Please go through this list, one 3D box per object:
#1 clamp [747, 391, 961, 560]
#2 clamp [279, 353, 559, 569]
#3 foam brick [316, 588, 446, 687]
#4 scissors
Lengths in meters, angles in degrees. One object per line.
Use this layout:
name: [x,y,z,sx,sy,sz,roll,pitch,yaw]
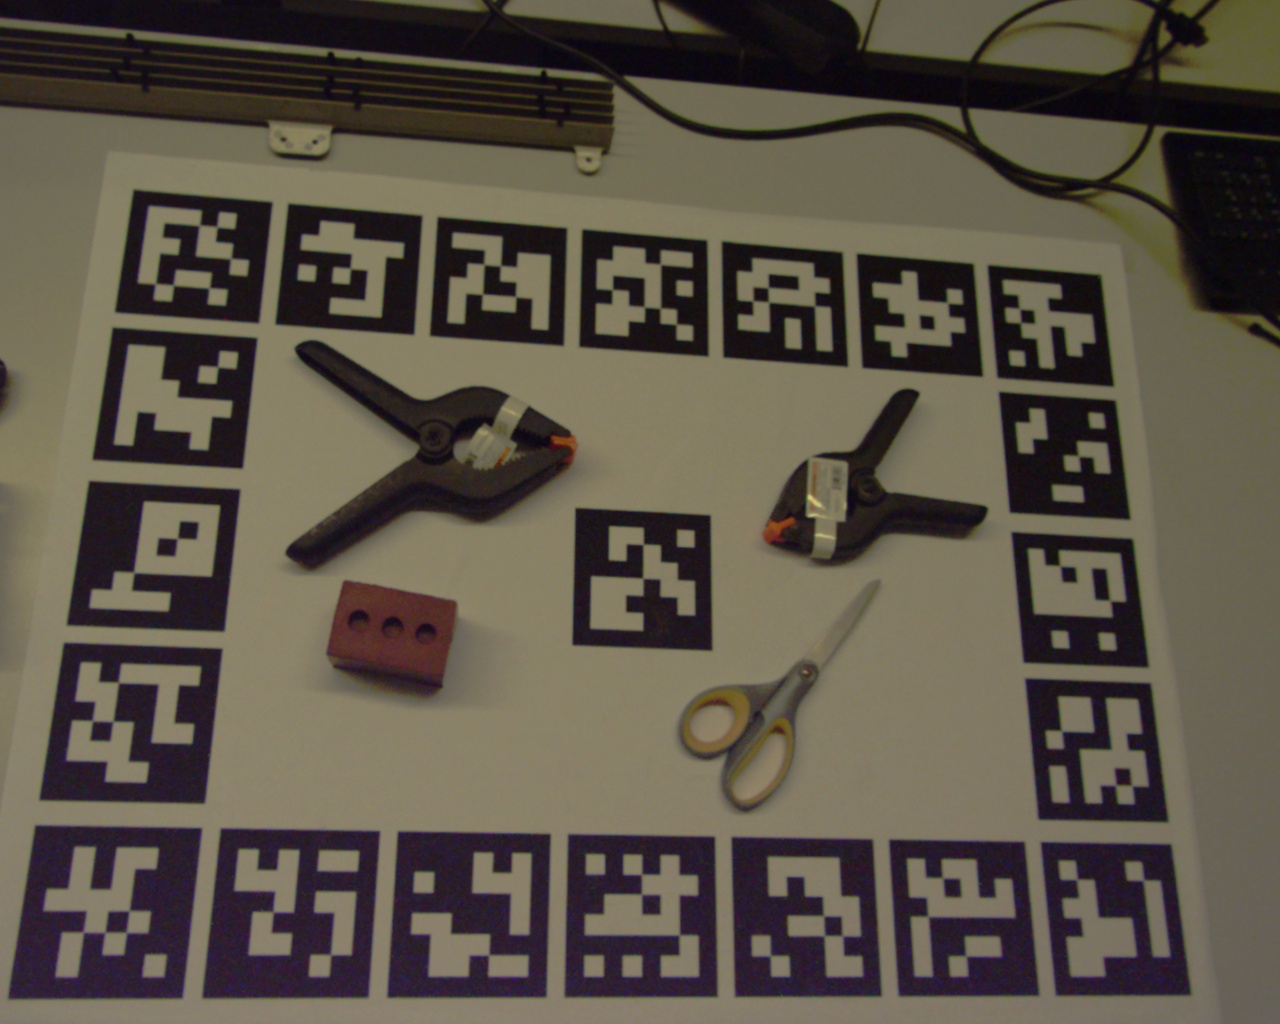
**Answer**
clamp: [0.158,-0.012,0.891,0.164,0.037,0.122,-25,87,-13]
clamp: [-0.162,-0.040,0.847,0.202,0.037,0.166,-1,72,-10]
foam brick: [-0.181,0.090,0.804,0.078,0.051,0.053,10,75,-2]
scissors: [0.094,0.126,0.847,0.087,0.016,0.202,43,72,-4]
